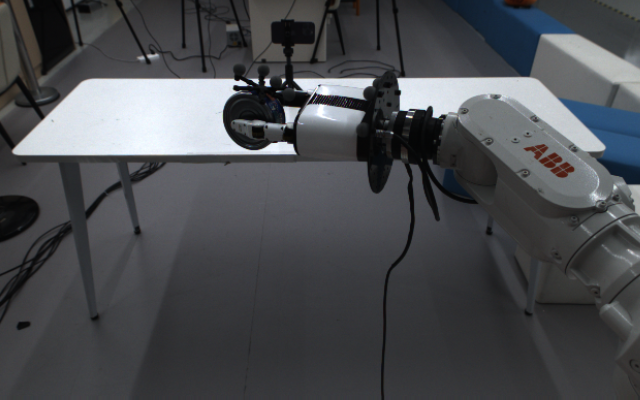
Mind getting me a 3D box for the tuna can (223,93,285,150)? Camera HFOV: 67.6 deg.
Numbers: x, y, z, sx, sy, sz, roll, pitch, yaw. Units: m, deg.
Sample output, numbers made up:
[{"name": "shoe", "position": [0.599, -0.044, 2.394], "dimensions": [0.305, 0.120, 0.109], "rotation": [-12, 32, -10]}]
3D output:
[{"name": "tuna can", "position": [-0.092, -0.110, 0.687], "dimensions": [0.085, 0.085, 0.034], "rotation": [15, 31, 18]}]
